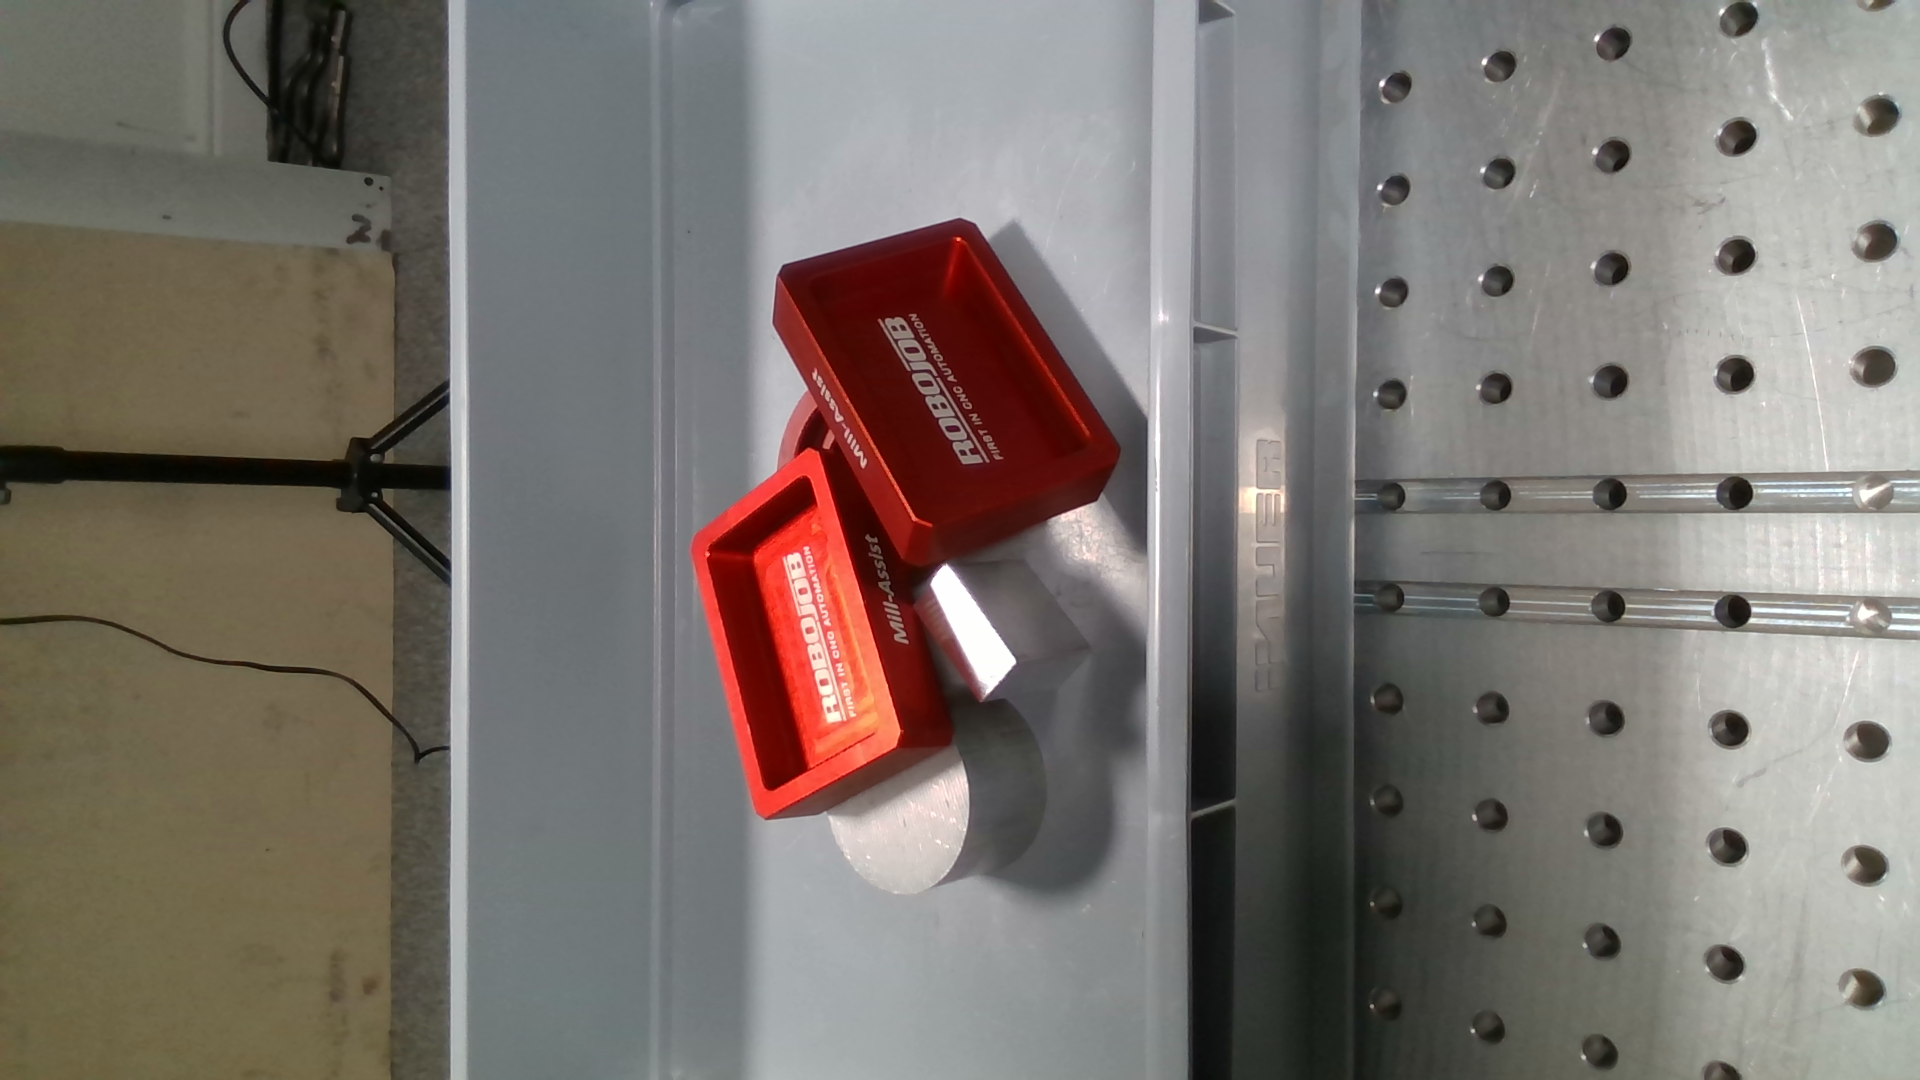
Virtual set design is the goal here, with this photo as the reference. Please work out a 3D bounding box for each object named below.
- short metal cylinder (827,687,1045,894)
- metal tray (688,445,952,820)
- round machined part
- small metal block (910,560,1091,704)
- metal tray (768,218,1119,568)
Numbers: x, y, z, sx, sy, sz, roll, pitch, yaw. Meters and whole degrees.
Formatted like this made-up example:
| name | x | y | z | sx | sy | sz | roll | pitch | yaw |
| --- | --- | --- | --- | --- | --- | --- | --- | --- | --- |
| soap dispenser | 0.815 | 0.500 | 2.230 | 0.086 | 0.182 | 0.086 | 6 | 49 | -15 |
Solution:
| name | x | y | z | sx | sy | sz | roll | pitch | yaw |
| --- | --- | --- | --- | --- | --- | --- | --- | --- | --- |
| short metal cylinder | -0.012 | 0.103 | 0.574 | 0.080 | 0.050 | 0.080 | 0 | 91 | 40 |
| metal tray | -0.061 | 0.039 | 0.567 | 0.090 | 0.030 | 0.130 | -33 | 65 | 35 |
| round machined part | -0.032 | -0.026 | 0.597 | 0.098 | 0.042 | 0.098 | 0 | 91 | 40 |
| small metal block | 0.017 | 0.035 | 0.550 | 0.025 | 0.050 | 0.050 | -51 | 62 | 28 |
| metal tray | -0.009 | -0.061 | 0.542 | 0.130 | 0.090 | 0.030 | 60 | 156 | 22 |
